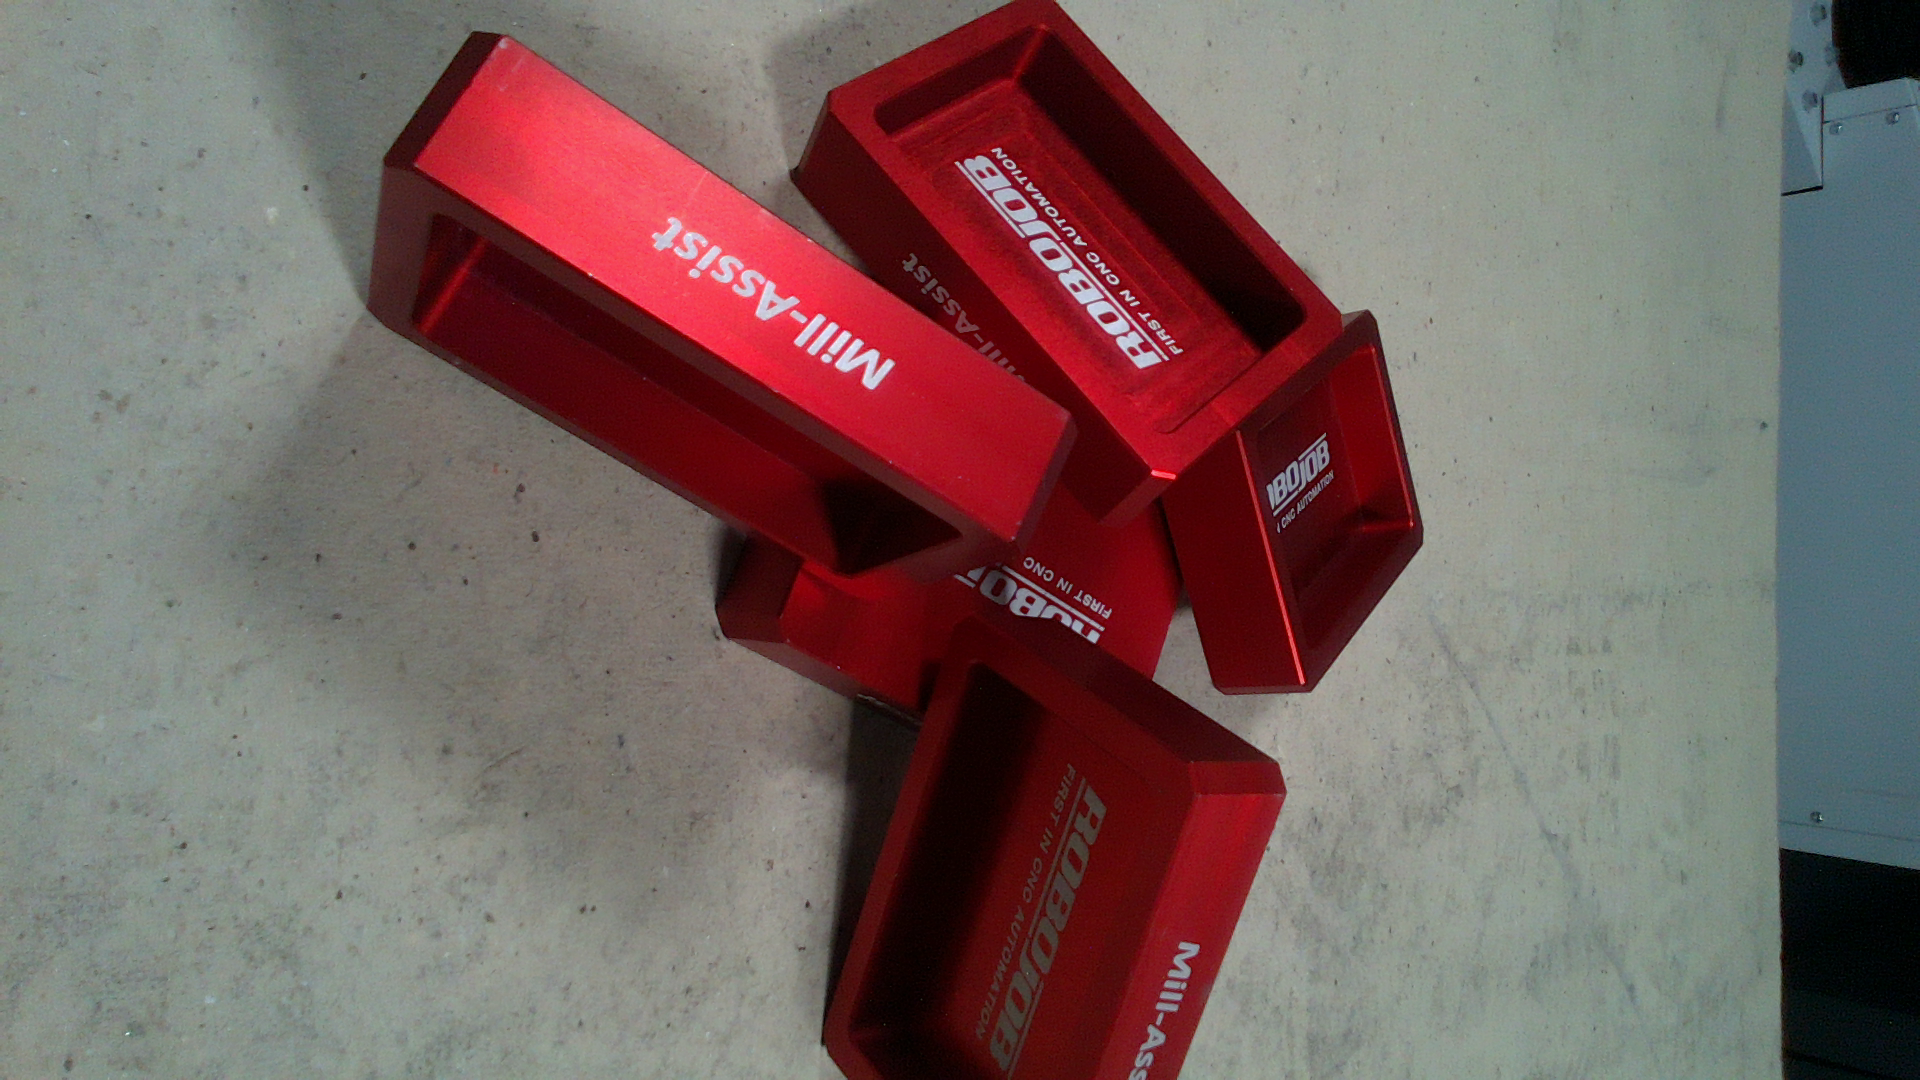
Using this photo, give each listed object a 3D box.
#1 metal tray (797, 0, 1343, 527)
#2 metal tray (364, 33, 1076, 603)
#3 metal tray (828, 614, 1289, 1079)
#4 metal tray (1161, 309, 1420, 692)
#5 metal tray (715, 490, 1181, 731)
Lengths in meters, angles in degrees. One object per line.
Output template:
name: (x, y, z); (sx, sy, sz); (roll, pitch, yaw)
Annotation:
metal tray: (0.031, -0.079, 0.374); (0.130, 0.030, 0.090); (48, 57, 4)
metal tray: (-0.052, -0.035, 0.283); (0.130, 0.090, 0.030); (32, 69, -18)
metal tray: (0.018, 0.094, 0.337); (0.030, 0.090, 0.130); (7, 106, -39)
metal tray: (0.113, -0.017, 0.458); (0.130, 0.030, 0.090); (-34, 112, -50)
metal tray: (0.005, 0.011, 0.389); (0.130, 0.030, 0.090); (32, 70, -35)
